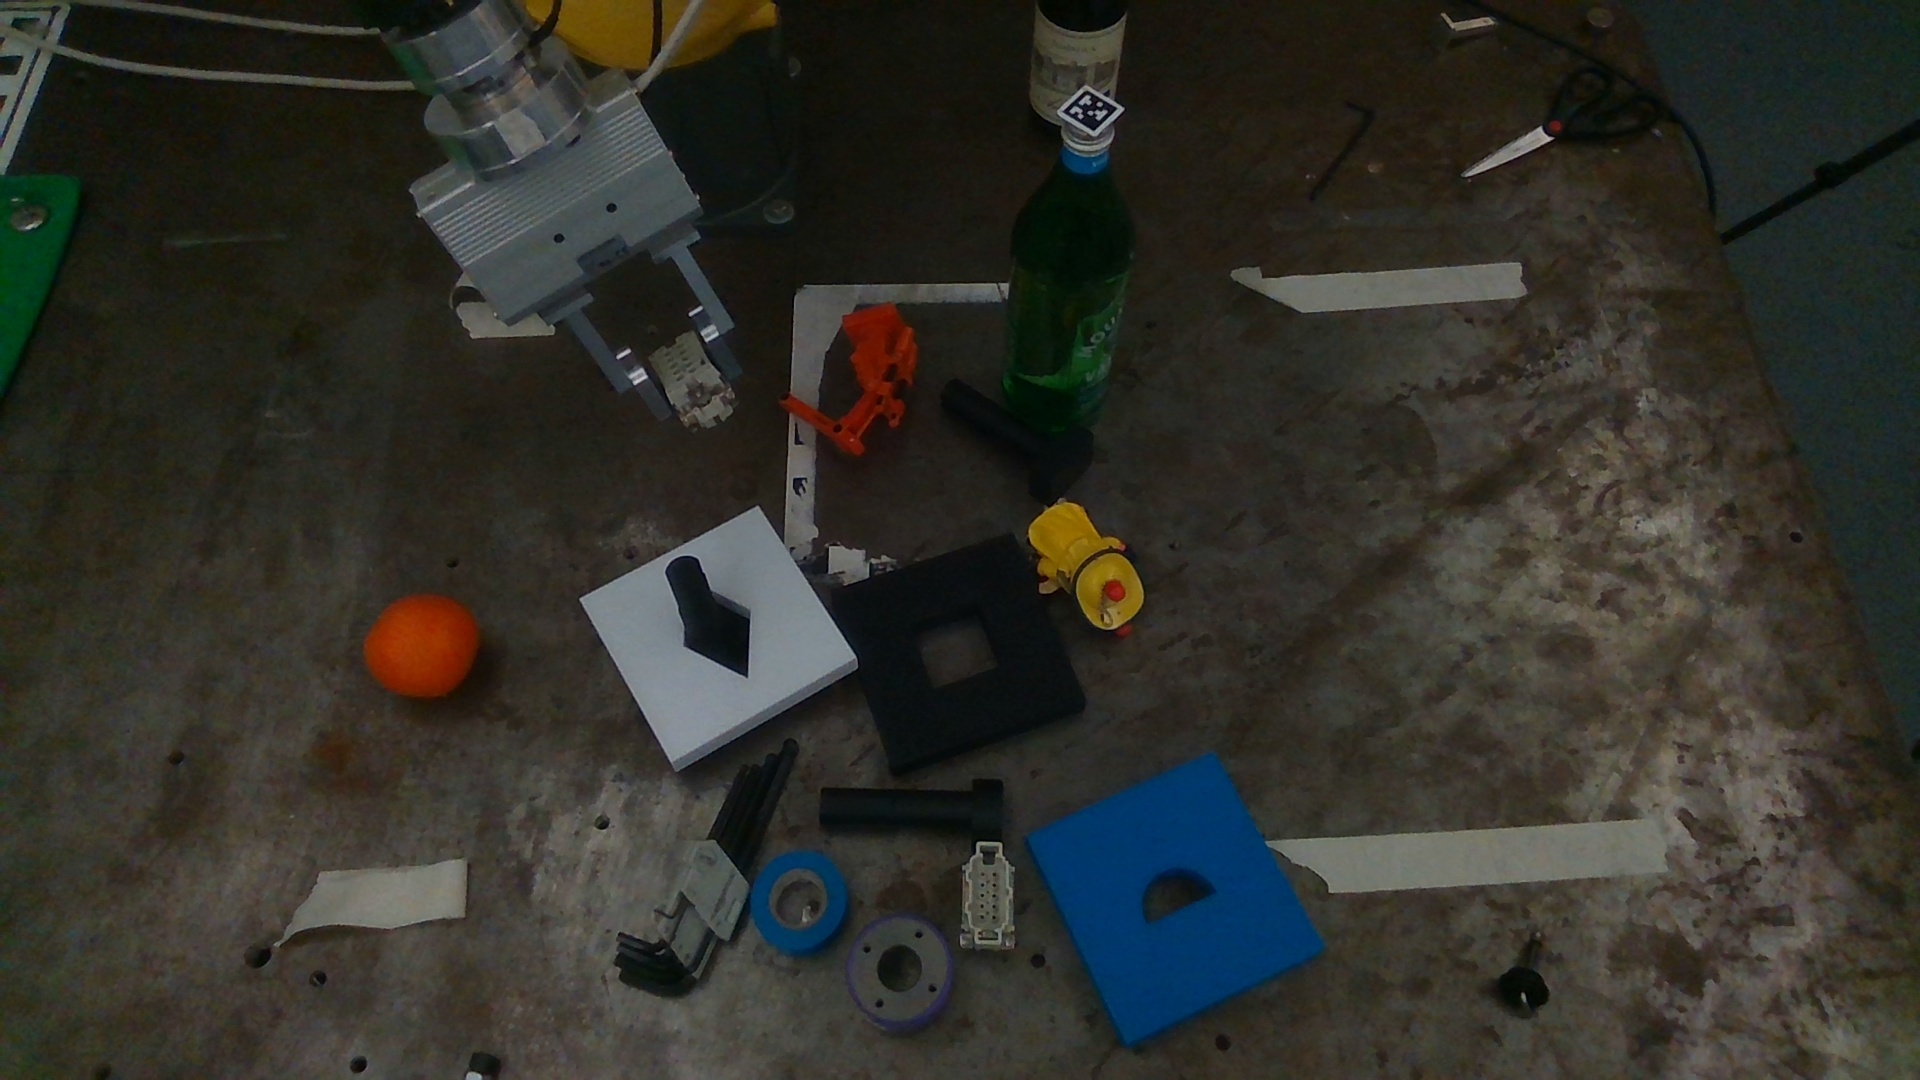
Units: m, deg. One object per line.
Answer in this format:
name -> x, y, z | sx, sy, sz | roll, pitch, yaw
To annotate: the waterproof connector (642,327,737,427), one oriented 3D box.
waterproof connector -> -0.165, -0.097, 0.843 | 0.036, 0.038, 0.069 | -31, 51, -8
